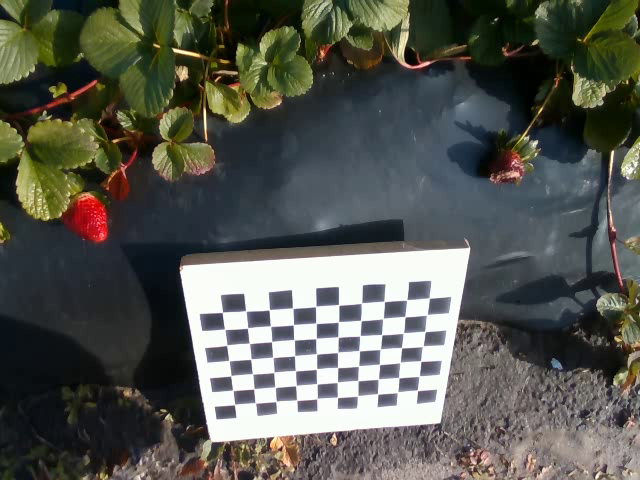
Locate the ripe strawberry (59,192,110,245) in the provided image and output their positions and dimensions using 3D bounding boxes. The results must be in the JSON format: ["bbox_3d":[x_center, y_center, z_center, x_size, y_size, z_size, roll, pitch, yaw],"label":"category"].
[{"bbox_3d":[-0.210,-0.016,0.609,0.041,0.056,0.041,-45,-15,28],"label":"ripe strawberry"}]
